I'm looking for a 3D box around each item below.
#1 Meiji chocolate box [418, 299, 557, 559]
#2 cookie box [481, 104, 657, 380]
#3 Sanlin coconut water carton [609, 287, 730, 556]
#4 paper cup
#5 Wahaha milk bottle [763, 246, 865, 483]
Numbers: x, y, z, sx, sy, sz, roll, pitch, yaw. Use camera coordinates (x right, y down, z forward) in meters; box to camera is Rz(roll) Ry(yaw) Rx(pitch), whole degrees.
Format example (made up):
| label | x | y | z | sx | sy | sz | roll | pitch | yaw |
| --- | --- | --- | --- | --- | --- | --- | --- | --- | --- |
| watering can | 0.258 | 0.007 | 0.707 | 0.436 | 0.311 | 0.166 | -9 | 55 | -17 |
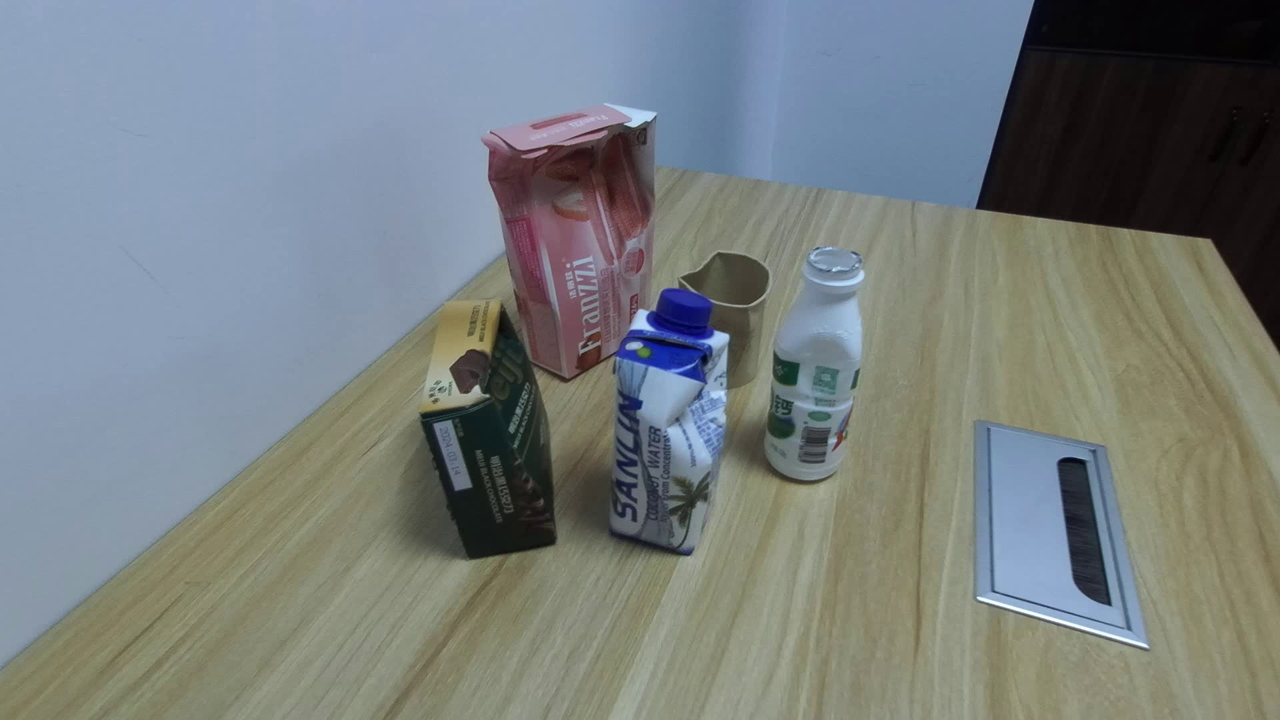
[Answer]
| label | x | y | z | sx | sy | sz | roll | pitch | yaw |
| --- | --- | --- | --- | --- | --- | --- | --- | --- | --- |
| Meiji chocolate box | -0.087 | 0.037 | 0.420 | 0.058 | 0.111 | 0.113 | -13 | 33 | -8 |
| cookie box | -0.043 | -0.082 | 0.522 | 0.119 | 0.184 | 0.055 | -27 | 42 | -32 |
| Sanlin coconut water carton | 0.017 | 0.036 | 0.387 | 0.060 | 0.144 | 0.070 | 13 | 36 | 18 |
| paper cup | 0.067 | -0.027 | 0.526 | 0.066 | 0.084 | 0.072 | 23 | 41 | 30 |
| Wahaha milk bottle | 0.105 | 0.004 | 0.425 | 0.055 | 0.149 | 0.055 | -2 | 36 | 2 |
